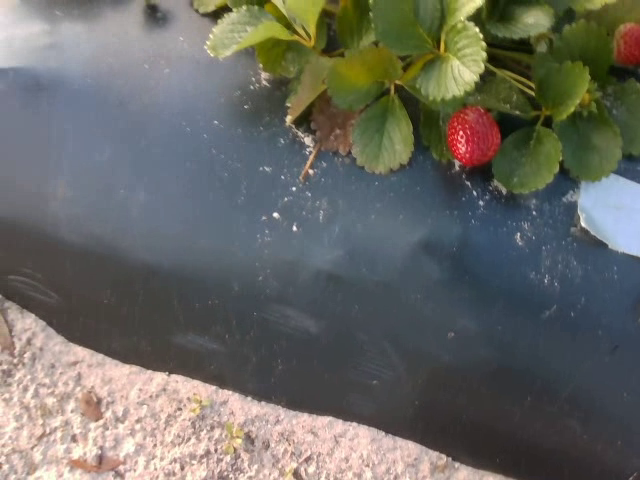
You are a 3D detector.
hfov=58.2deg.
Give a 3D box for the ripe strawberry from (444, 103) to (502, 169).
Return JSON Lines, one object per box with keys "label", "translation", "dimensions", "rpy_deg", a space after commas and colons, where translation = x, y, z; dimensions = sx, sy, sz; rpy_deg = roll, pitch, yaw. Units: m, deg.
{"label": "ripe strawberry", "translation": [0.046, -0.030, 0.176], "dimensions": [0.018, 0.023, 0.021], "rpy_deg": [7, -39, 23]}
